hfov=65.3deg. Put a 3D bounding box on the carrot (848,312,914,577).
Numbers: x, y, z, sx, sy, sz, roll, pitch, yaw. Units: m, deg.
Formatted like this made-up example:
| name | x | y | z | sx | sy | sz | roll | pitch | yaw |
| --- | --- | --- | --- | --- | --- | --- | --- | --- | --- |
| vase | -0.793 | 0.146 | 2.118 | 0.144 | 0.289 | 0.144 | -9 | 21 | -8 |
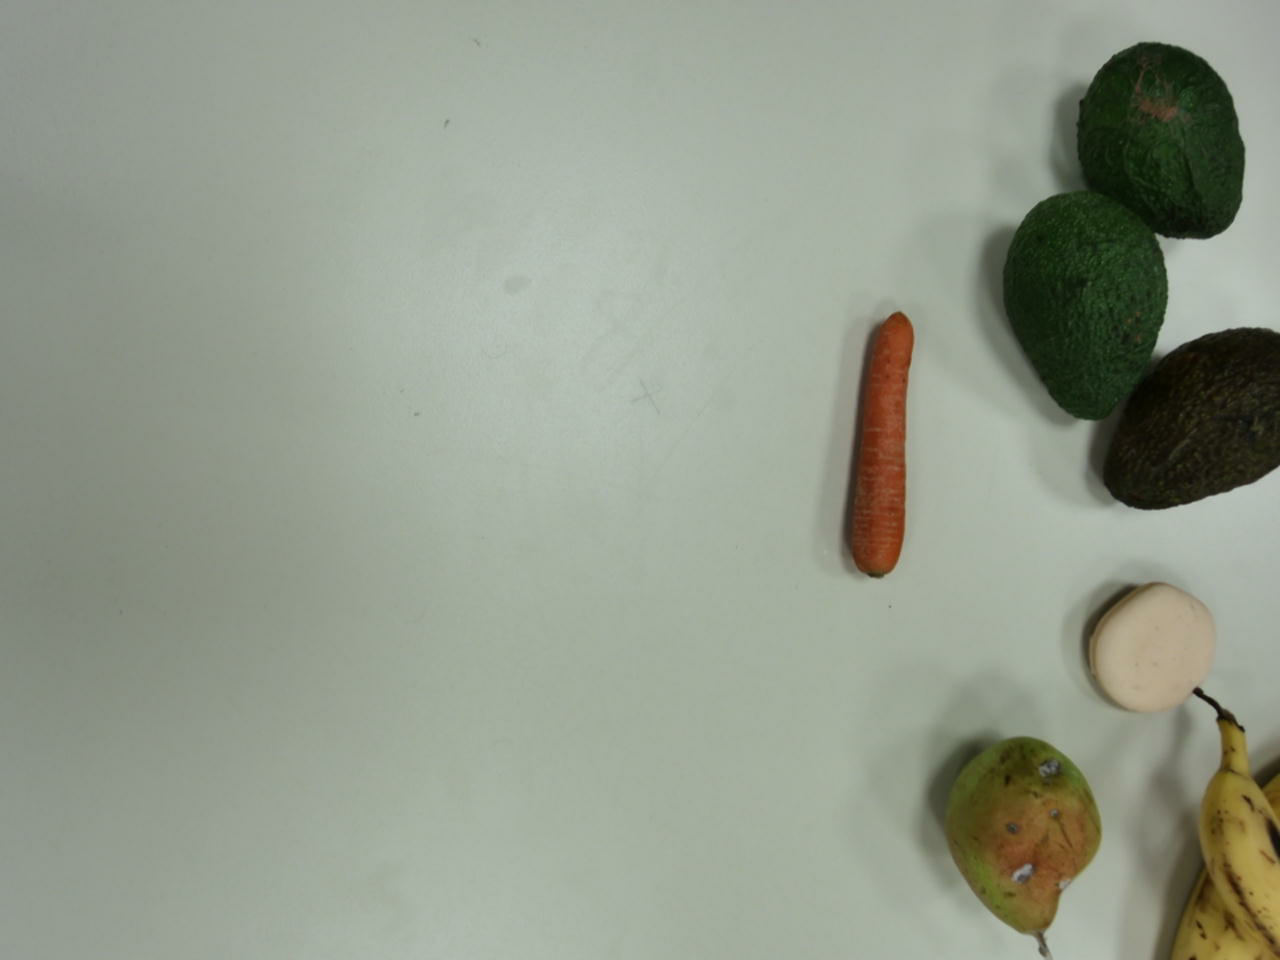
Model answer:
| name | x | y | z | sx | sy | sz | roll | pitch | yaw |
| --- | --- | --- | --- | --- | --- | --- | --- | --- | --- |
| carrot | 0.112 | -0.017 | 0.455 | 0.024 | 0.023 | 0.122 | 7 | 89 | -12 |
